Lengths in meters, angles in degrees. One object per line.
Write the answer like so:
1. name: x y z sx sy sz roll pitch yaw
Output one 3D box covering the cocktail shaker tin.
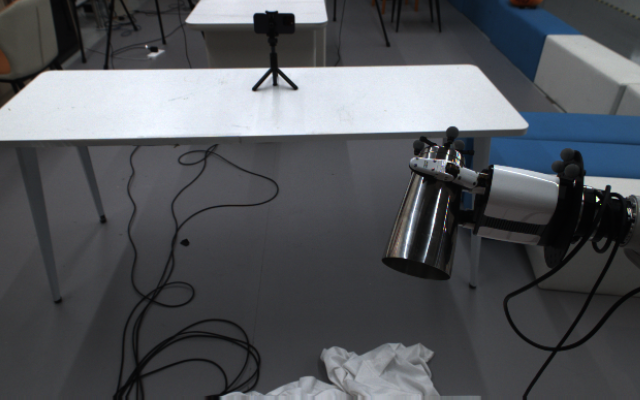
1. cocktail shaker tin: 0.152 0.011 0.669 0.093 0.093 0.170 13 72 15
